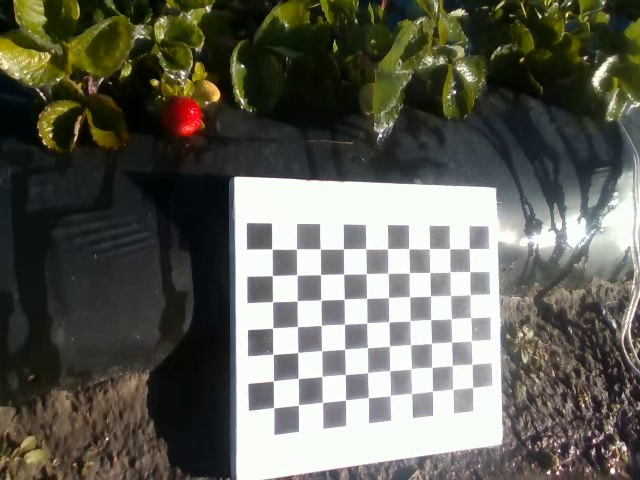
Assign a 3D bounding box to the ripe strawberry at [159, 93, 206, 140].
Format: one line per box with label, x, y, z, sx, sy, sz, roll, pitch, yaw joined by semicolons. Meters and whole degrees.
ripe strawberry;-0.095;-0.082;0.425;0.039;0.040;0.039;-10;26;-12
